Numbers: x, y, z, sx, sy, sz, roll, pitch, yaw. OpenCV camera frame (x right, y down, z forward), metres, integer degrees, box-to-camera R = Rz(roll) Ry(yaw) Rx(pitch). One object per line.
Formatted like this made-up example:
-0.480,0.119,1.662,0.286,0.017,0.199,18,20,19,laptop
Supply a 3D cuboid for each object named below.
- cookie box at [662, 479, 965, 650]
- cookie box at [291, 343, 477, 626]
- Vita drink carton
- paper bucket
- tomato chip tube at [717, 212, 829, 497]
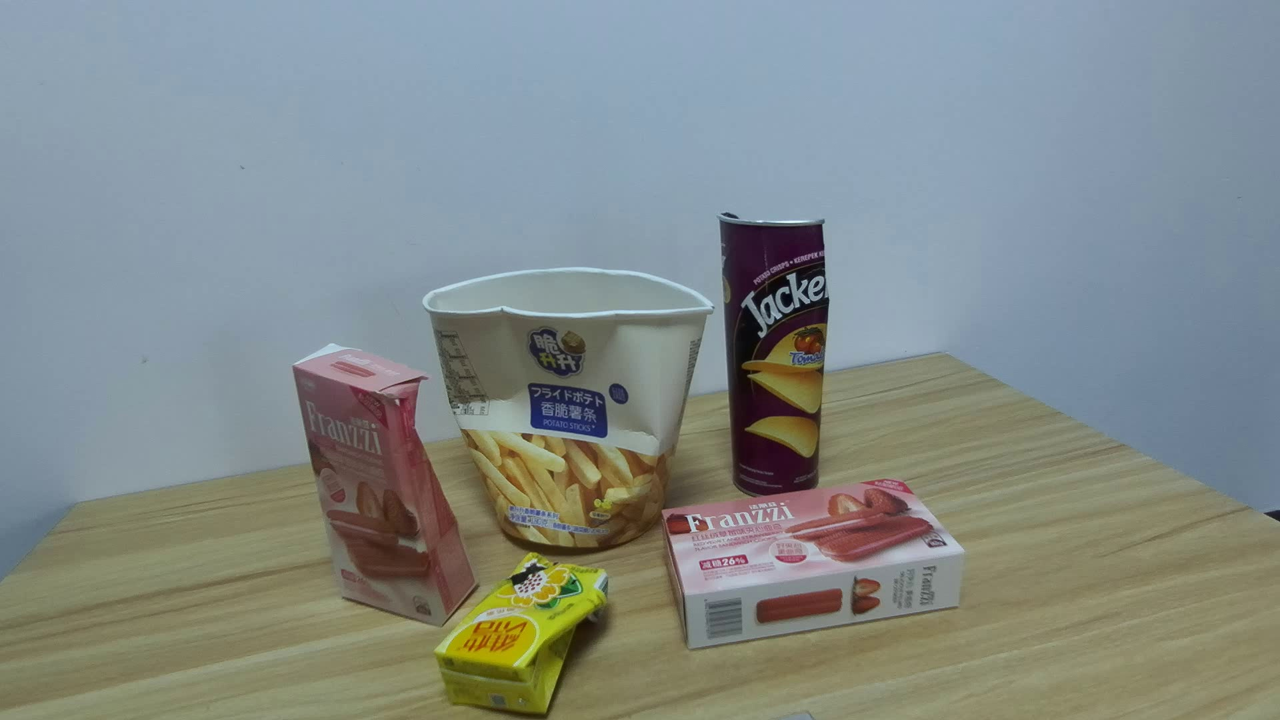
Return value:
0.113,0.137,0.490,0.184,0.048,0.096,-7,21,-5,cookie box
-0.174,0.089,0.490,0.118,0.184,0.055,8,24,29,cookie box
-0.070,0.171,0.448,0.086,0.042,0.108,-3,15,24,Vita drink carton
-0.055,0.036,0.578,0.218,0.199,0.147,-7,22,-5,paper bucket
0.111,-0.003,0.591,0.076,0.235,0.077,-6,19,-3,tomato chip tube
